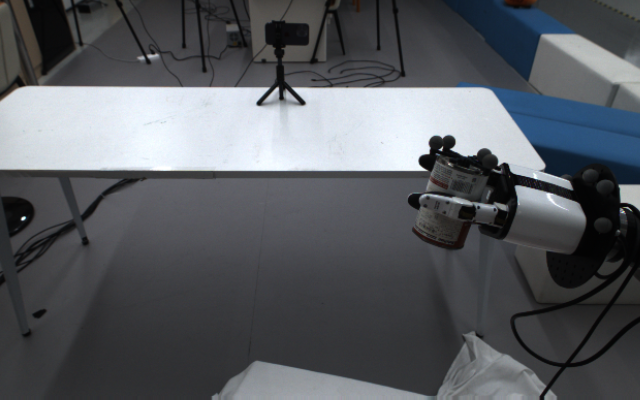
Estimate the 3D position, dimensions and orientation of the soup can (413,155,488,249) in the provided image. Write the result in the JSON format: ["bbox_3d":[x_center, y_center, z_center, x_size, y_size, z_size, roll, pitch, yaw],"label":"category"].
[{"bbox_3d":[0.164,0.001,0.606,0.067,0.101,0.067,13,18,-4],"label":"soup can"}]
